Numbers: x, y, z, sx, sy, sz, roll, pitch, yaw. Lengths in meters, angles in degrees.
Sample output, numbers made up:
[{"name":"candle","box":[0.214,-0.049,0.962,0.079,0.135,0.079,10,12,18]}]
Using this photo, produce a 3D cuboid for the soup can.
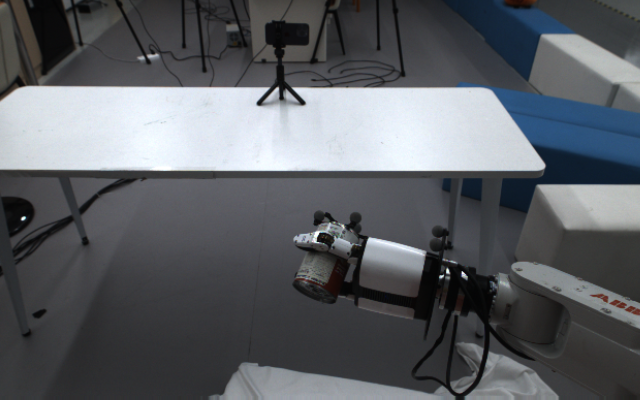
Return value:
[{"name":"soup can","box":[0.011,0.089,0.704,0.067,0.067,0.101,15,62,18]}]
